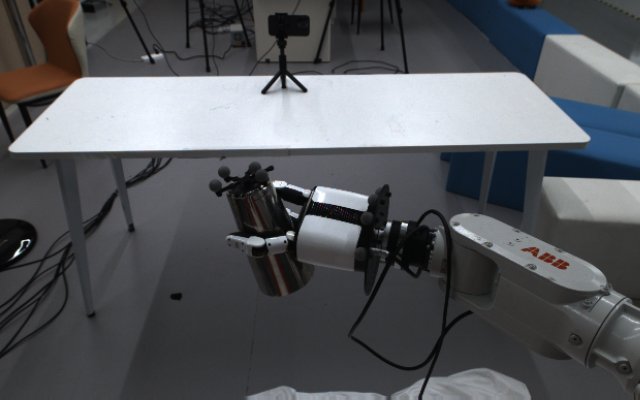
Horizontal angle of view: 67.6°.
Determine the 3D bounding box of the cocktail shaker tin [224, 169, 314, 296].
[{"bbox_3d":[-0.077,0.048,0.718,0.093,0.170,0.093,-15,29,8],"label":"cocktail shaker tin"}]
